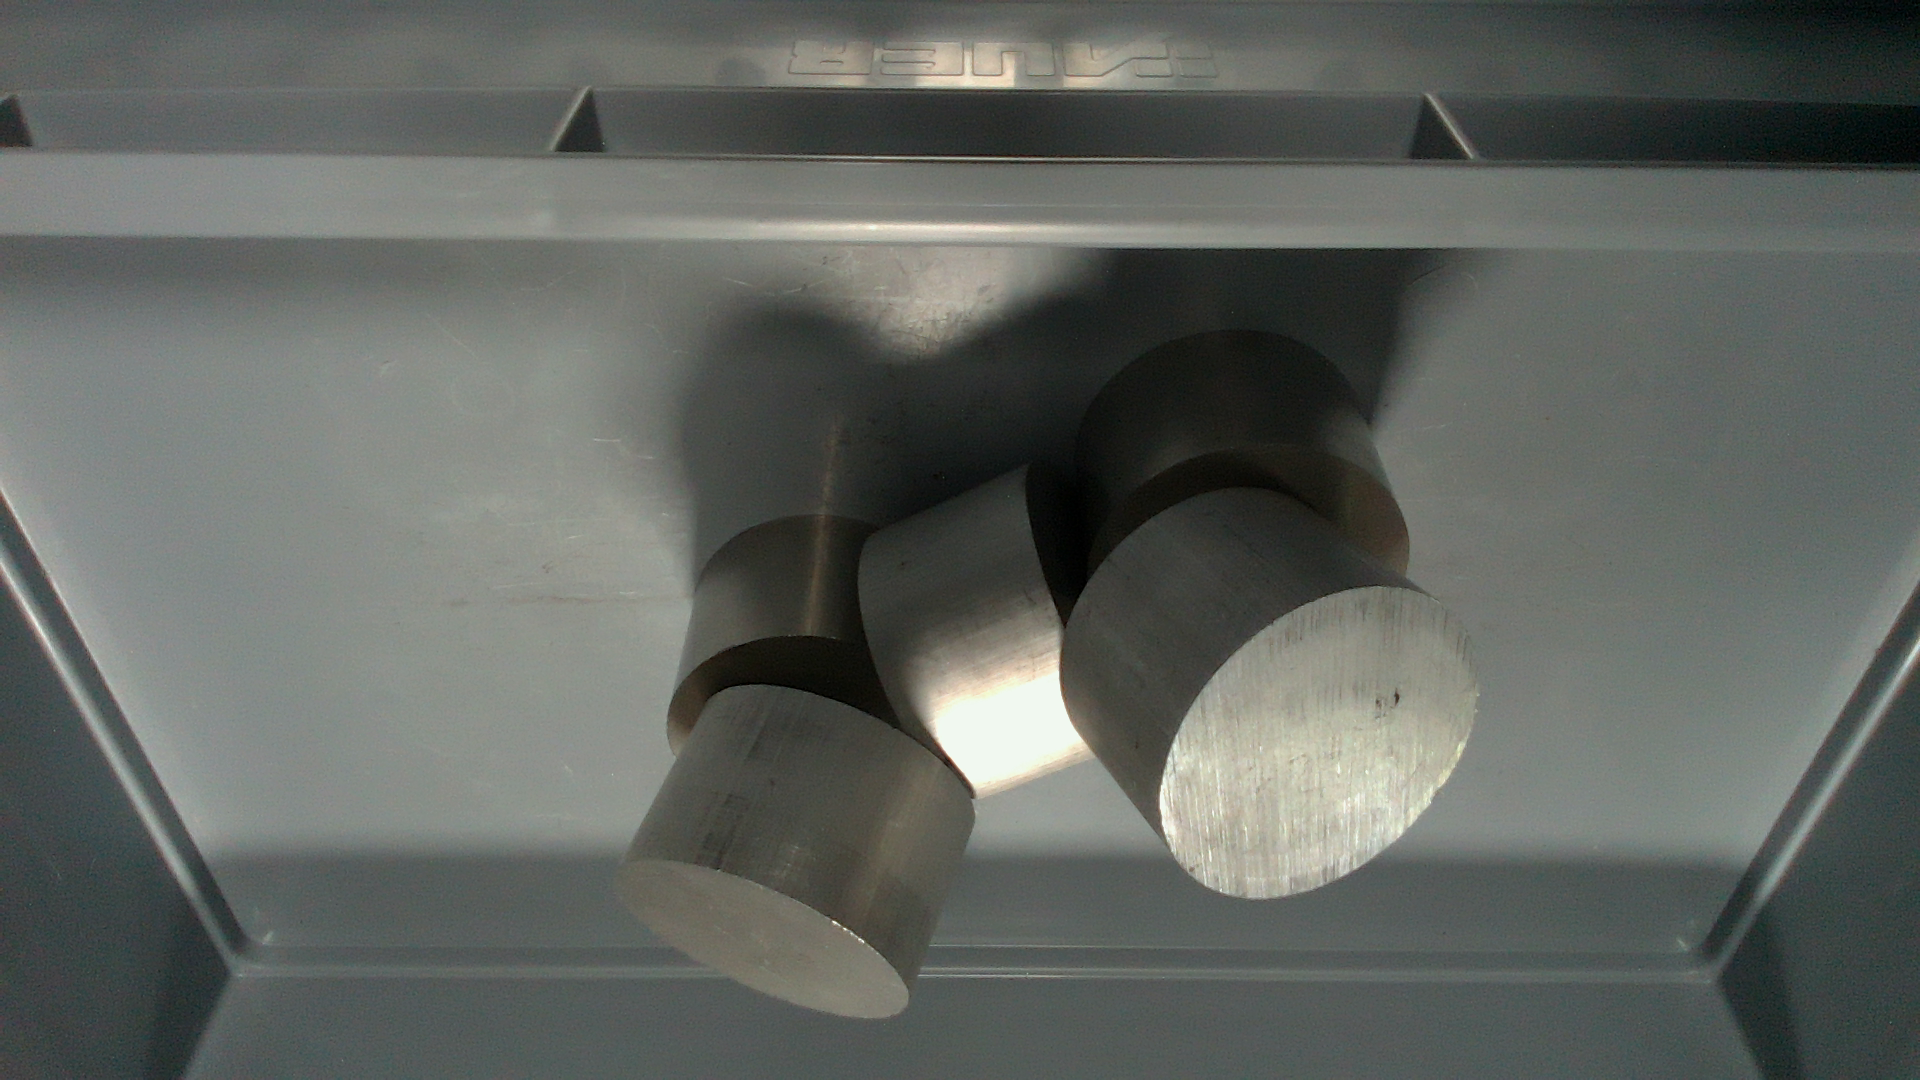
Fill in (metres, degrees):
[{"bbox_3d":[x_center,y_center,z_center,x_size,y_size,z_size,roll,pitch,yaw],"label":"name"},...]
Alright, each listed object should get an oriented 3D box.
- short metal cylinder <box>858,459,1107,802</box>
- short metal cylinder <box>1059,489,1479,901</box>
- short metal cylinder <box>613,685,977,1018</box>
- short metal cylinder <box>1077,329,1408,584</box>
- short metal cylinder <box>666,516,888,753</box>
[{"bbox_3d":[0.015,0.025,0.374,0.050,0.080,0.080,-24,126,19],"label":"short metal cylinder"},{"bbox_3d":[0.070,0.035,0.317,0.080,0.050,0.080,-10,119,-19],"label":"short metal cylinder"},{"bbox_3d":[-0.042,0.082,0.357,0.080,0.050,0.080,16,145,12],"label":"short metal cylinder"},{"bbox_3d":[0.072,-0.008,0.366,0.080,0.050,0.080,0,130,0],"label":"short metal cylinder"},{"bbox_3d":[-0.042,0.040,0.406,0.080,0.050,0.080,0,130,0],"label":"short metal cylinder"}]
